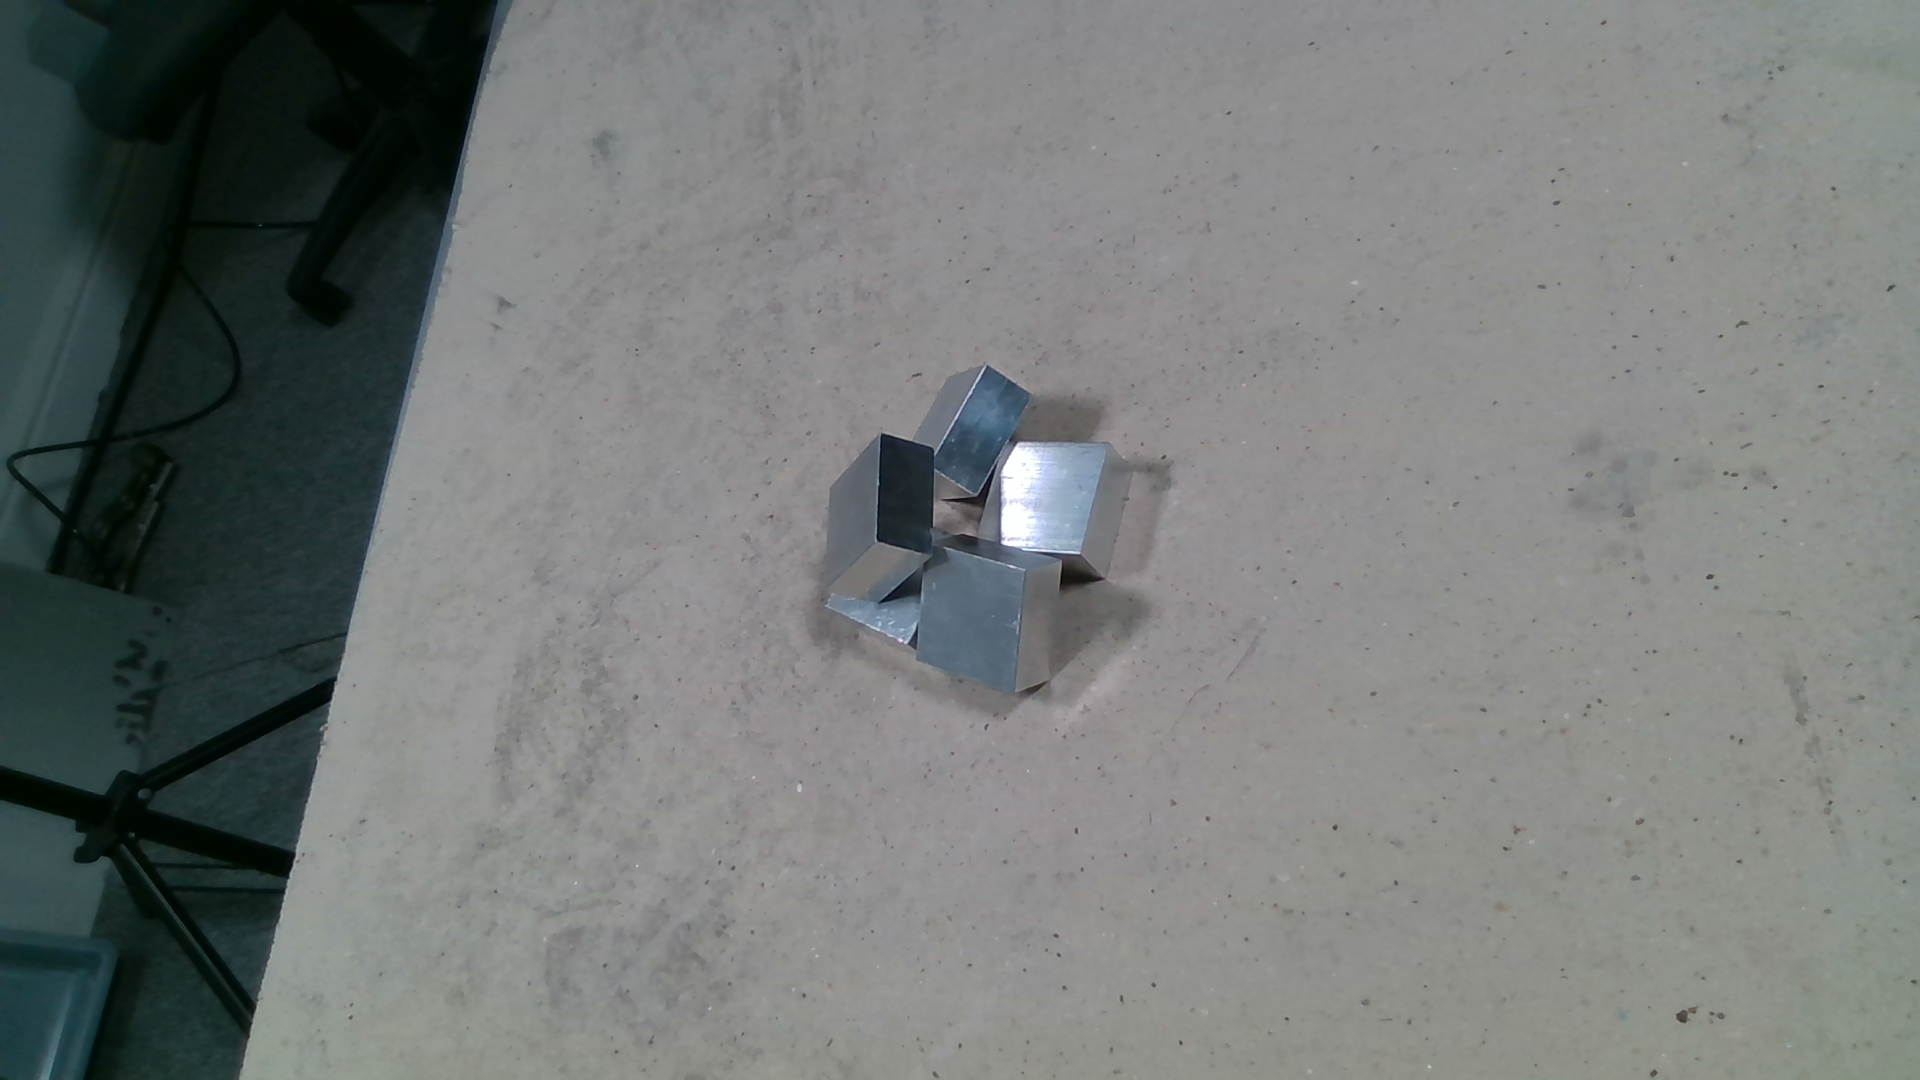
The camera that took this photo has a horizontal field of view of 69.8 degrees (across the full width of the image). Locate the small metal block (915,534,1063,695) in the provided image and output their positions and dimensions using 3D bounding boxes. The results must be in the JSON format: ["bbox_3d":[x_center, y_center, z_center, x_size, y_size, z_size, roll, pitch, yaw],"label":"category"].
[{"bbox_3d":[0.011,0.029,0.549,0.050,0.025,0.050,15,108,36],"label":"small metal block"}]

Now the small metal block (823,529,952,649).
[{"bbox_3d":[-0.022,0.019,0.590,0.050,0.025,0.050,21,78,37],"label":"small metal block"}]

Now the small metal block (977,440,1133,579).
[{"bbox_3d":[0.039,-0.013,0.569,0.050,0.025,0.050,3,67,33],"label":"small metal block"}]

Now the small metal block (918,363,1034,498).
[{"bbox_3d":[0.001,-0.046,0.594,0.050,0.025,0.050,-61,16,-9],"label":"small metal block"}]

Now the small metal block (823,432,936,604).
[{"bbox_3d":[-0.033,-0.008,0.563,0.050,0.025,0.050,-40,42,51],"label":"small metal block"}]
